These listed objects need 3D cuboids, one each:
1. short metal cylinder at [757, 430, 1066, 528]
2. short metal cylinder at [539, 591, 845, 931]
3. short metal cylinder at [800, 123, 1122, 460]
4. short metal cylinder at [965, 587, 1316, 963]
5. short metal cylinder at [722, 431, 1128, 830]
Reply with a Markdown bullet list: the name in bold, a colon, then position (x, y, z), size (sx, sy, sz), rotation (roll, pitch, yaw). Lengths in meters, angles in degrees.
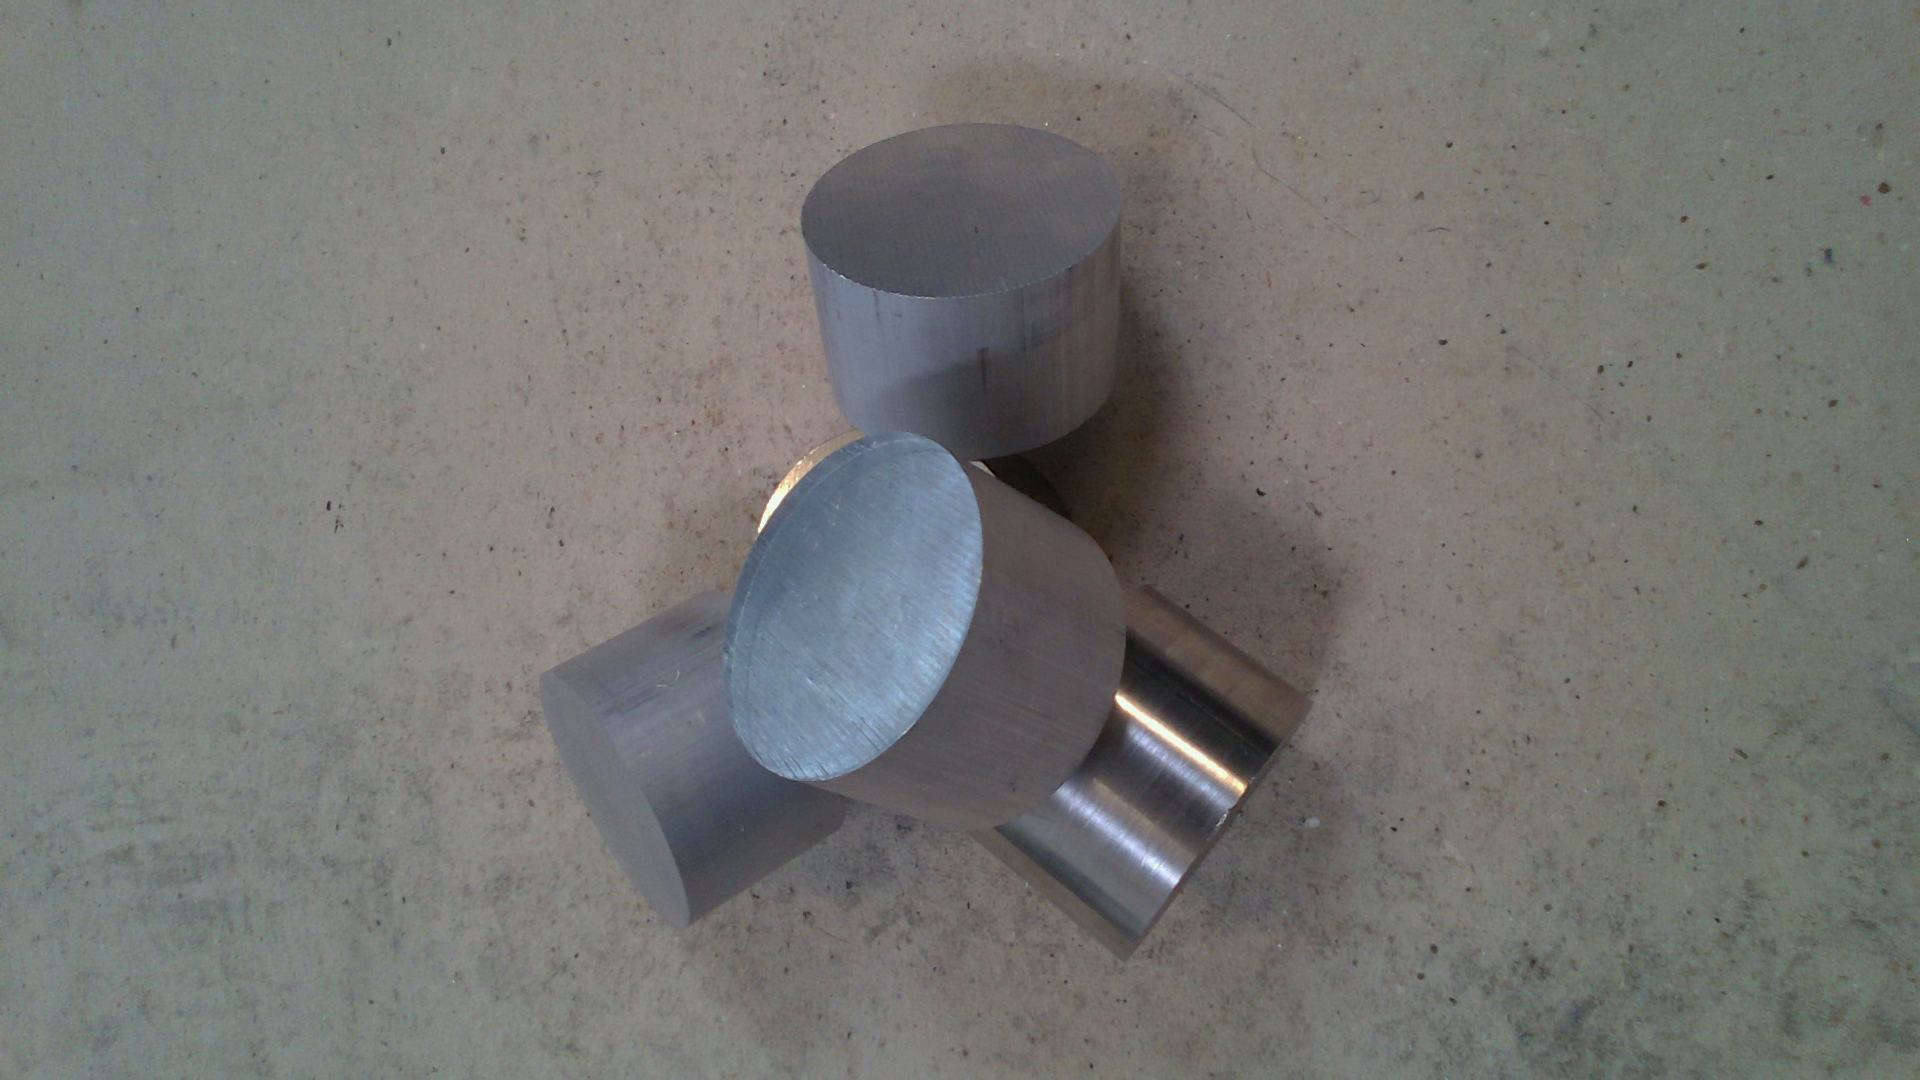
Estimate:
- **short metal cylinder**: position (-0.011, 0.009, 0.386), size (0.080, 0.050, 0.080), rotation (0, 89, 20)
- **short metal cylinder**: position (-0.076, 0.061, 0.388), size (0.080, 0.050, 0.080), rotation (39, 144, 36)
- **short metal cylinder**: position (0.002, -0.066, 0.359), size (0.080, 0.080, 0.050), rotation (15, 138, 19)
- **short metal cylinder**: position (0.046, 0.059, 0.350), size (0.050, 0.080, 0.080), rotation (36, 102, 16)
- **short metal cylinder**: position (-0.009, 0.022, 0.315), size (0.080, 0.050, 0.080), rotation (-21, 56, 36)
